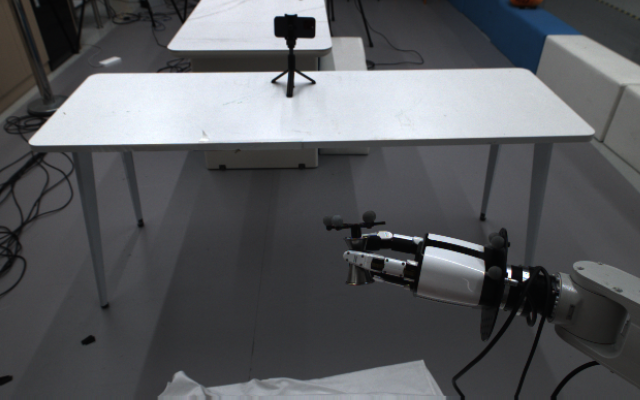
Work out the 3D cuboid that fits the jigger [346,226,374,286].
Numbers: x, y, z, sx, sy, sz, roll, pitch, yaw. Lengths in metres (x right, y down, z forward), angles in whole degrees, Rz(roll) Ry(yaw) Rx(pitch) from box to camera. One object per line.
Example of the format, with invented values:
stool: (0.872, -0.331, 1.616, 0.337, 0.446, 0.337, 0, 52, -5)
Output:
jigger: (0.056, 0.087, 0.716, 0.043, 0.071, 0.043, -4, 1, 0)
